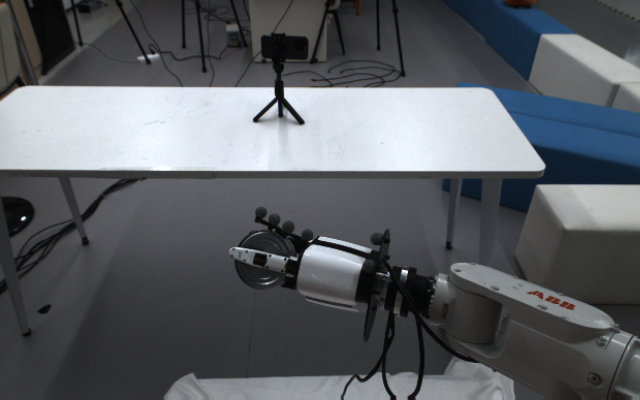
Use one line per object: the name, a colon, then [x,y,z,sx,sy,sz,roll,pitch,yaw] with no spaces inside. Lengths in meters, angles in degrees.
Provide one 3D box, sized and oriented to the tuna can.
tuna can: [-0.076,0.087,0.704,0.085,0.085,0.034,13,-6,16]
